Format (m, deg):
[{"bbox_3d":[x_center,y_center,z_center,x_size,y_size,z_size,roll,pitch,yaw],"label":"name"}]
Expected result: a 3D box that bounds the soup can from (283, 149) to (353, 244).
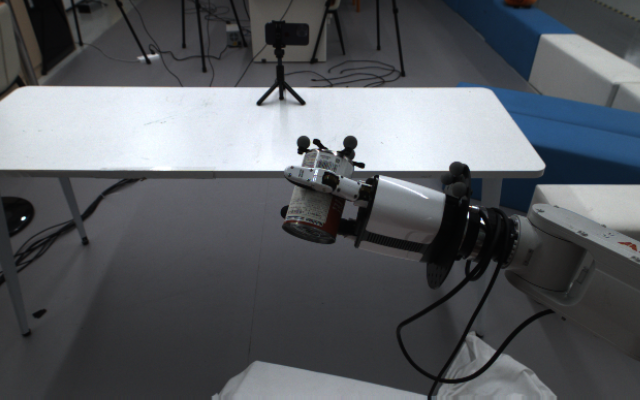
[{"bbox_3d":[0.001,-0.004,0.602,0.067,0.067,0.101,11,72,13],"label":"soup can"}]
